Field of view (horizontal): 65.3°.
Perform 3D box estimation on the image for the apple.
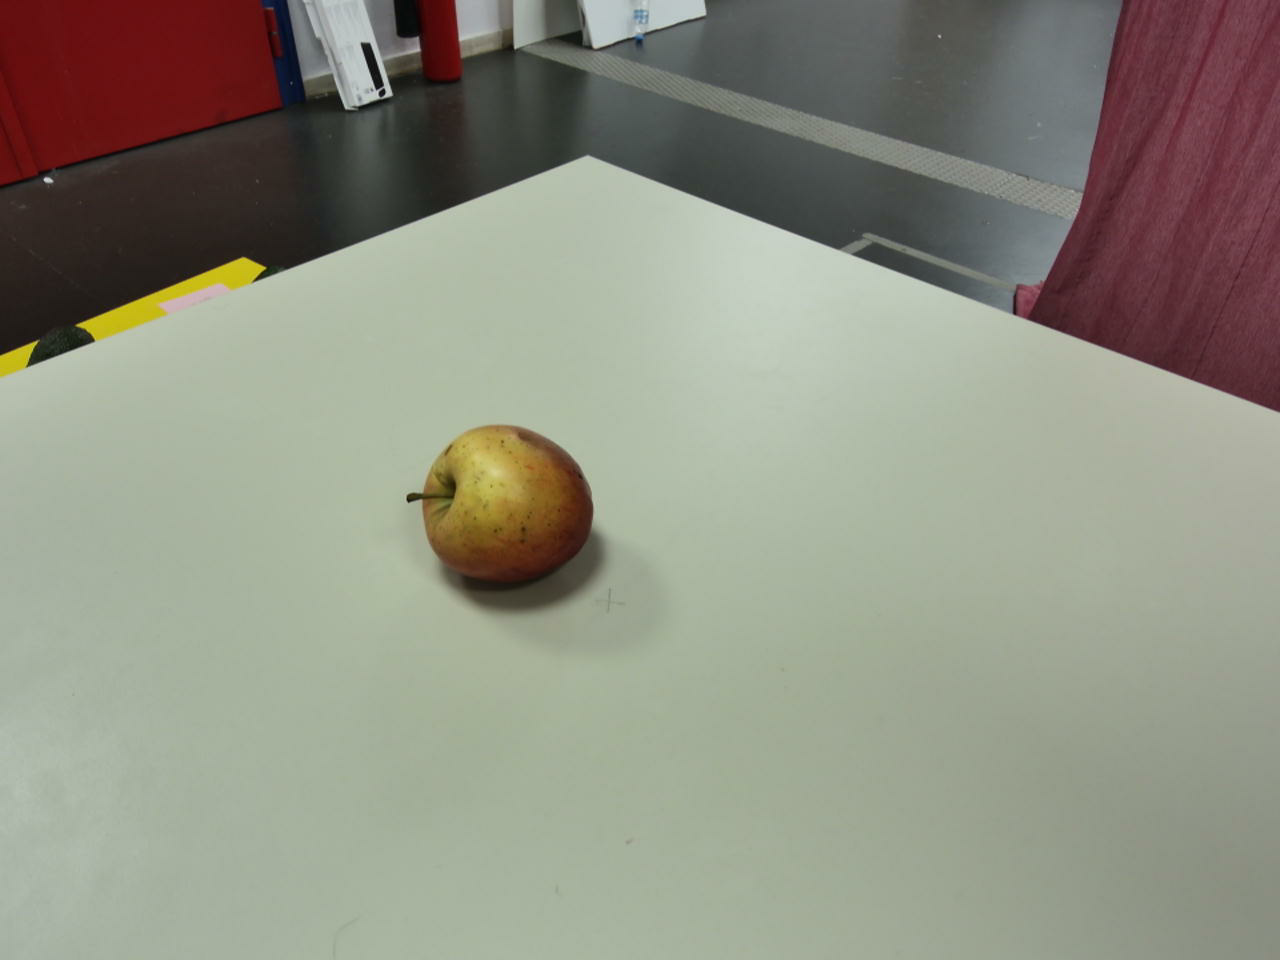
[{"bbox_3d":[-0.072,0.013,0.538,0.093,0.084,0.086,5,37,4],"label":"apple"}]
